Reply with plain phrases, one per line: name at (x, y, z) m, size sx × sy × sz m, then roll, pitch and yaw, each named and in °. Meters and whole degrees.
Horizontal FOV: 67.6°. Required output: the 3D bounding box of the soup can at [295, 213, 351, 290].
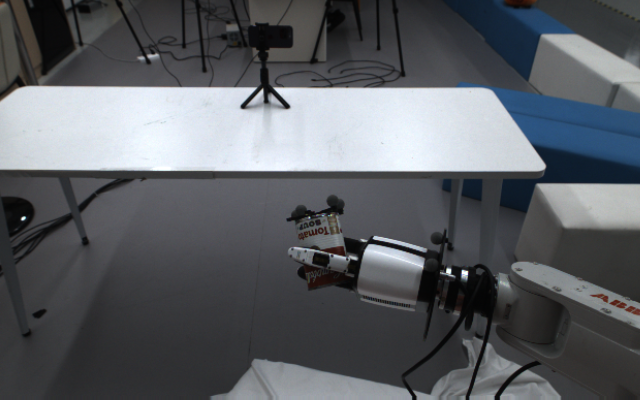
soup can at (0.007, 0.077, 0.708) m, size 0.067 × 0.067 × 0.101 m, roll -10°, pitch 79°, yaw -16°
